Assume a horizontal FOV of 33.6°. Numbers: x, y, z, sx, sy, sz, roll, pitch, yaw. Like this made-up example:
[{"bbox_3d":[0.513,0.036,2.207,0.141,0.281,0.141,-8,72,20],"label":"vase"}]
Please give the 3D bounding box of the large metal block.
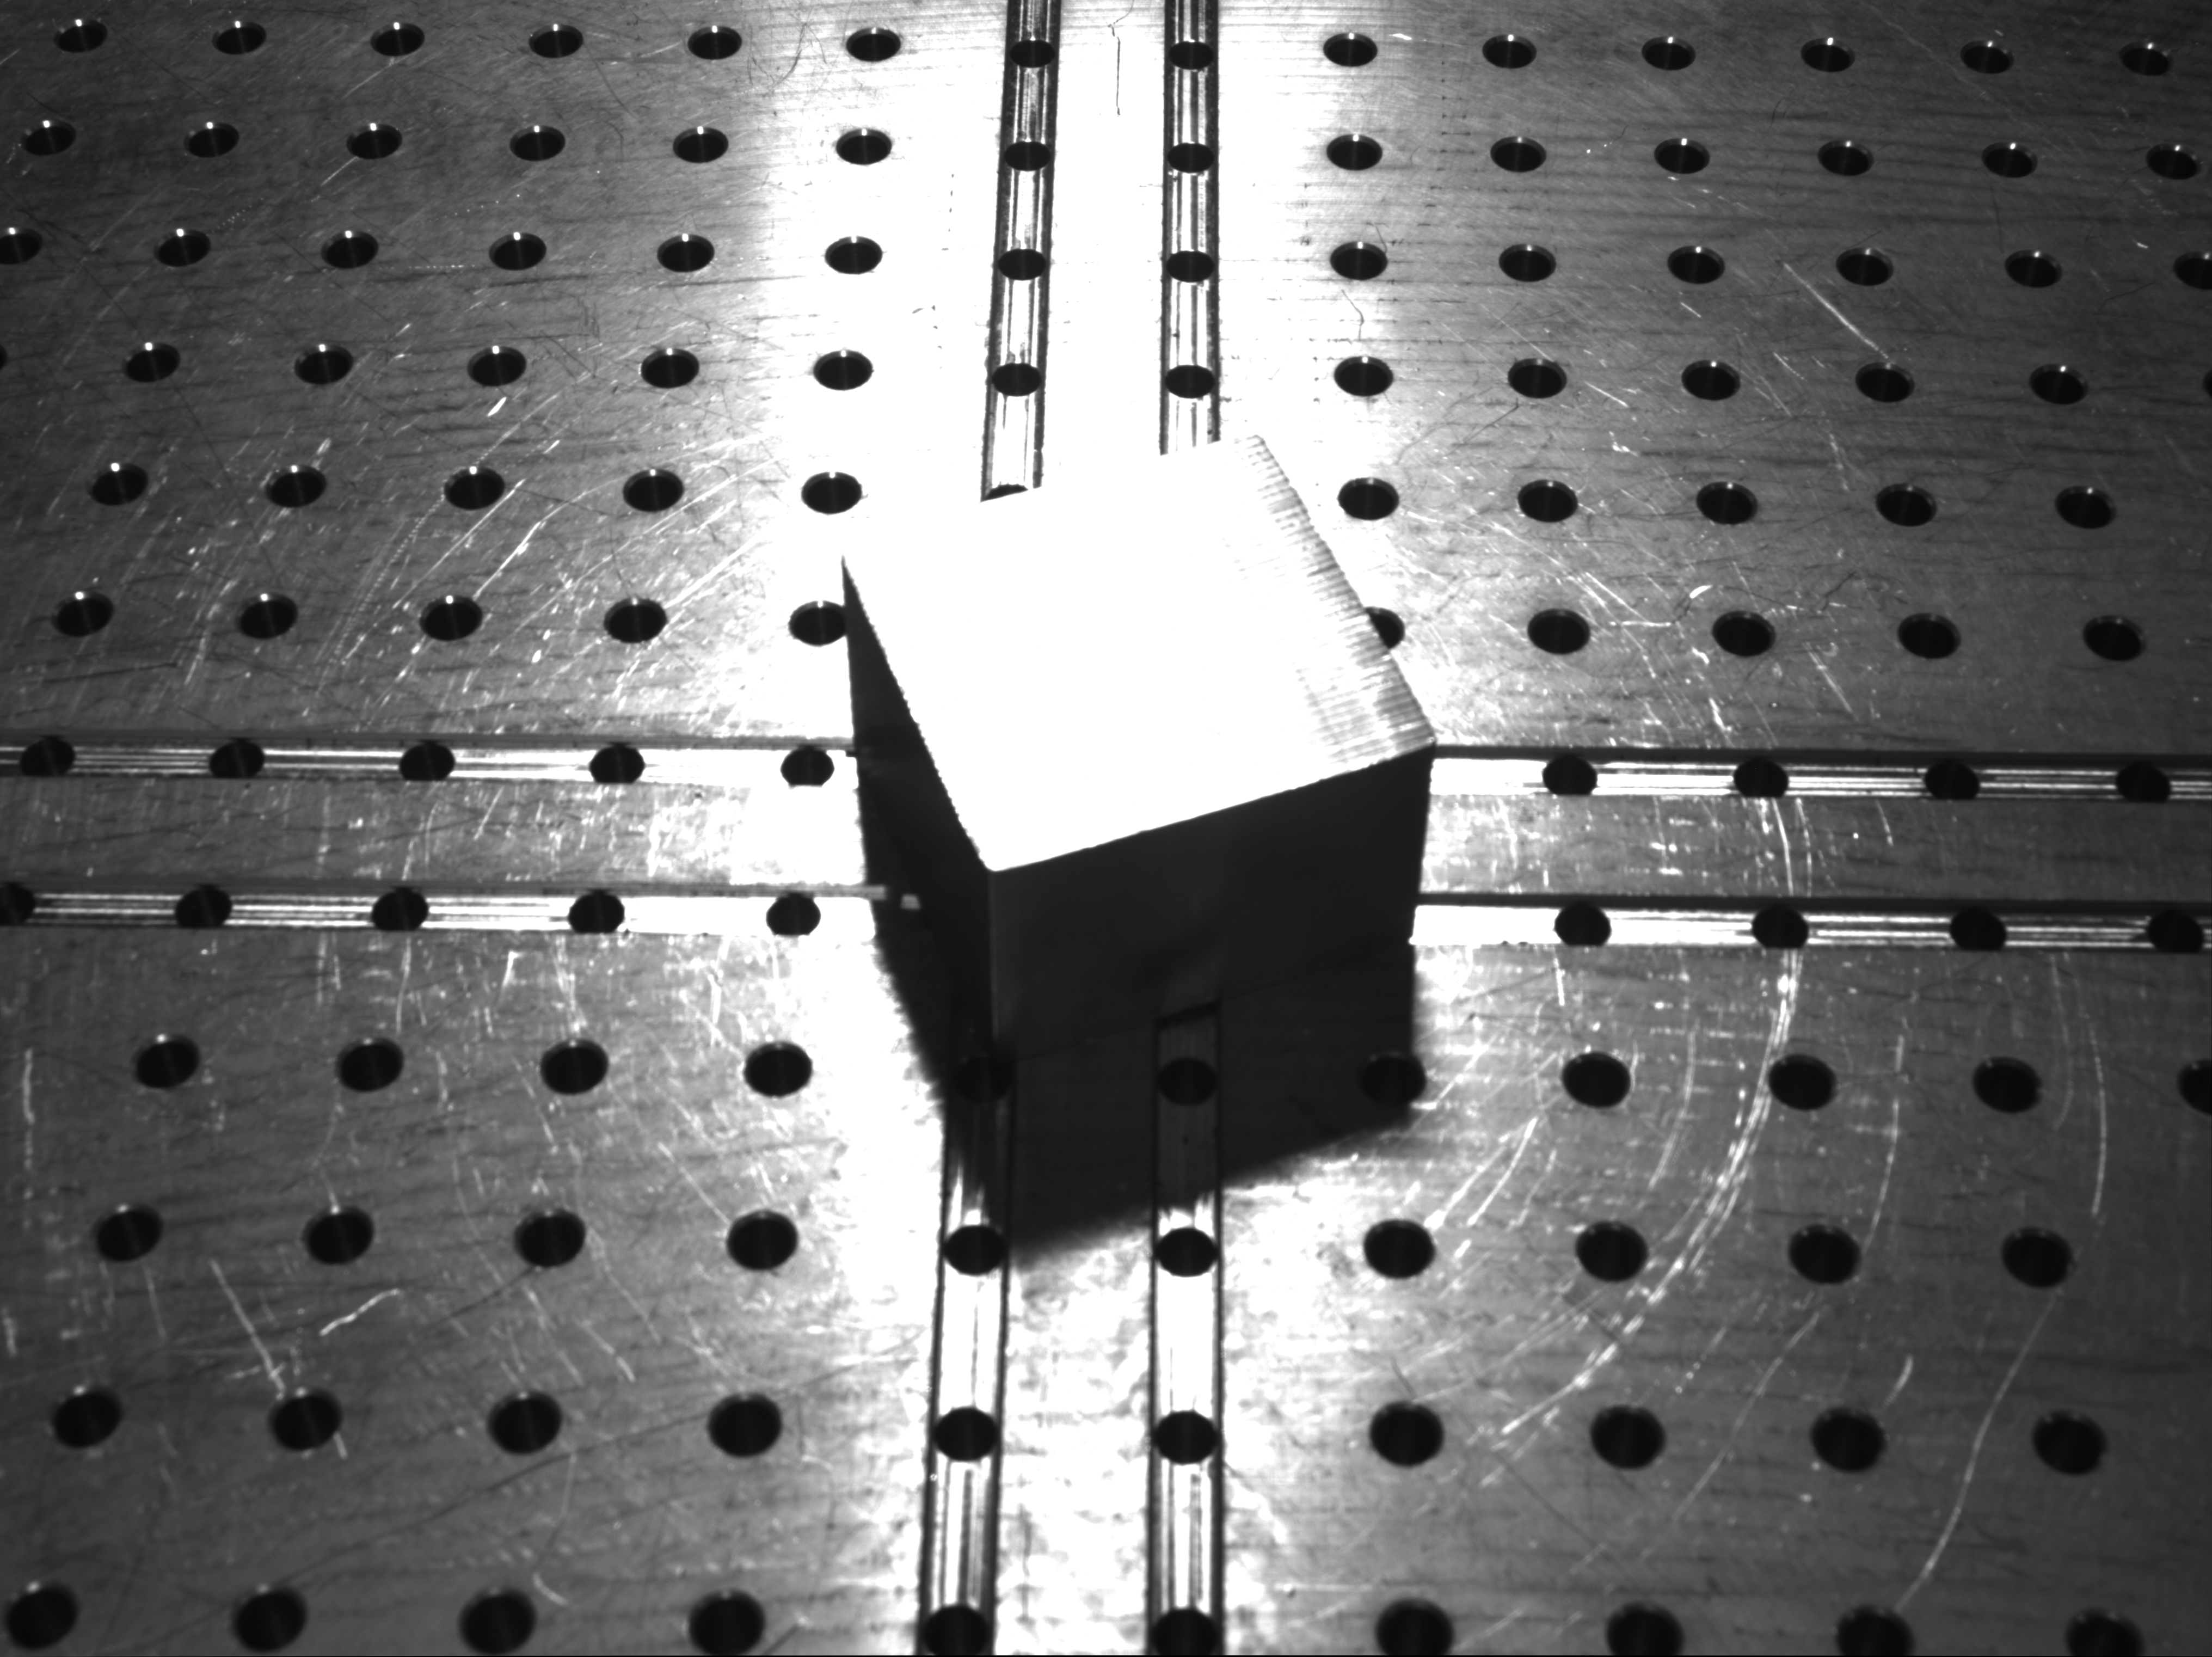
[{"bbox_3d":[0.007,-0.015,0.638,0.080,0.050,0.080,-16,52,-13],"label":"large metal block"}]
